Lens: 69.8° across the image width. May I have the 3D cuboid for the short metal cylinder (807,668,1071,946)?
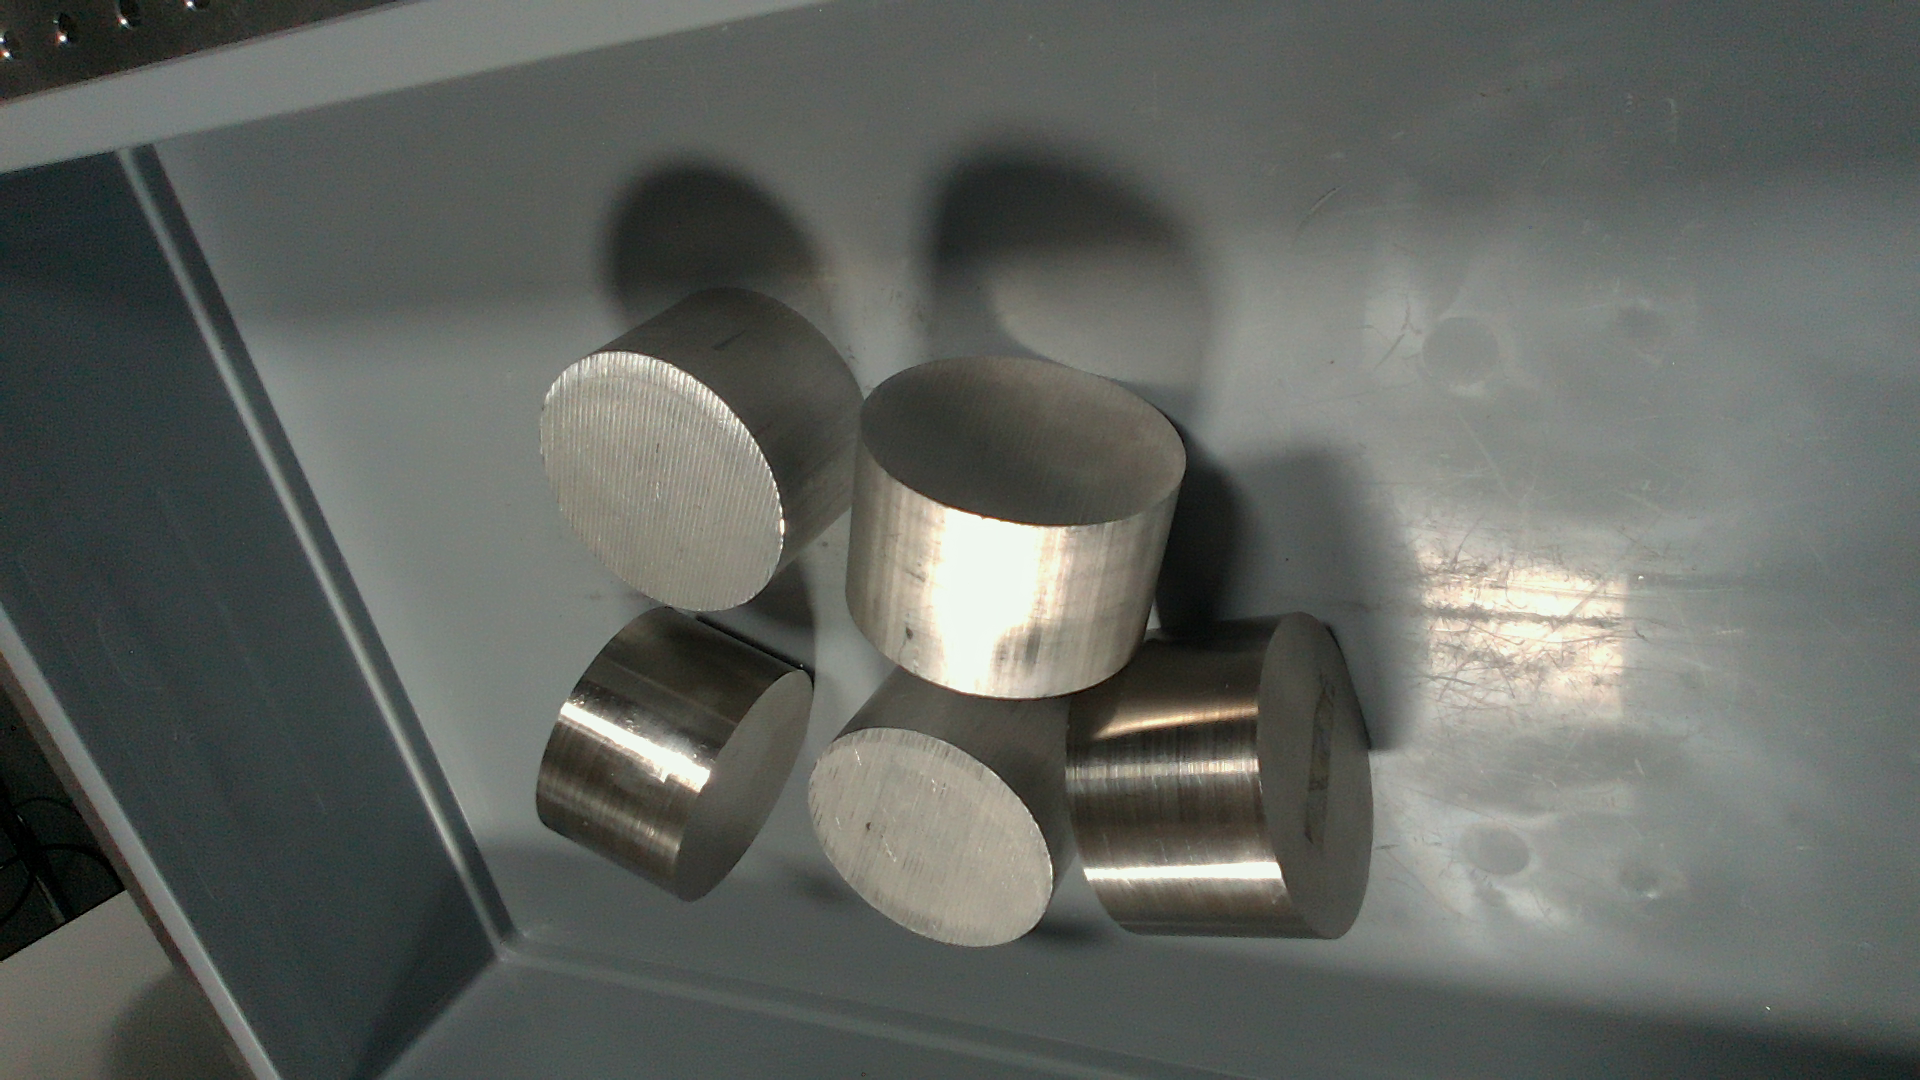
[{"bbox_3d":[0.001,0.076,0.422,0.080,0.050,0.080,13,124,21],"label":"short metal cylinder"}]

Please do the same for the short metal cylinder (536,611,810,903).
[{"bbox_3d":[-0.091,0.069,0.447,0.050,0.080,0.080,24,127,14],"label":"short metal cylinder"}]

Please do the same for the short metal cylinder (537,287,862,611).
[{"bbox_3d":[-0.073,-0.027,0.398,0.080,0.050,0.080,13,124,21],"label":"short metal cylinder"}]

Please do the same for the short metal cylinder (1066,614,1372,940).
[{"bbox_3d":[0.069,0.062,0.357,0.050,0.080,0.080,-9,114,32],"label":"short metal cylinder"}]

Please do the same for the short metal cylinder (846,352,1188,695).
[{"bbox_3d":[0.013,-0.006,0.347,0.080,0.080,0.050,20,126,17],"label":"short metal cylinder"}]
